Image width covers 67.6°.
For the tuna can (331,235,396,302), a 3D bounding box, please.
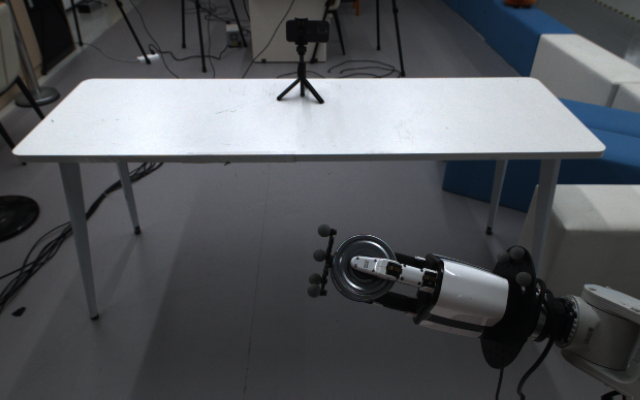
[{"bbox_3d":[0.060,0.091,0.626,0.085,0.034,0.085,2,73,-5],"label":"tuna can"}]
